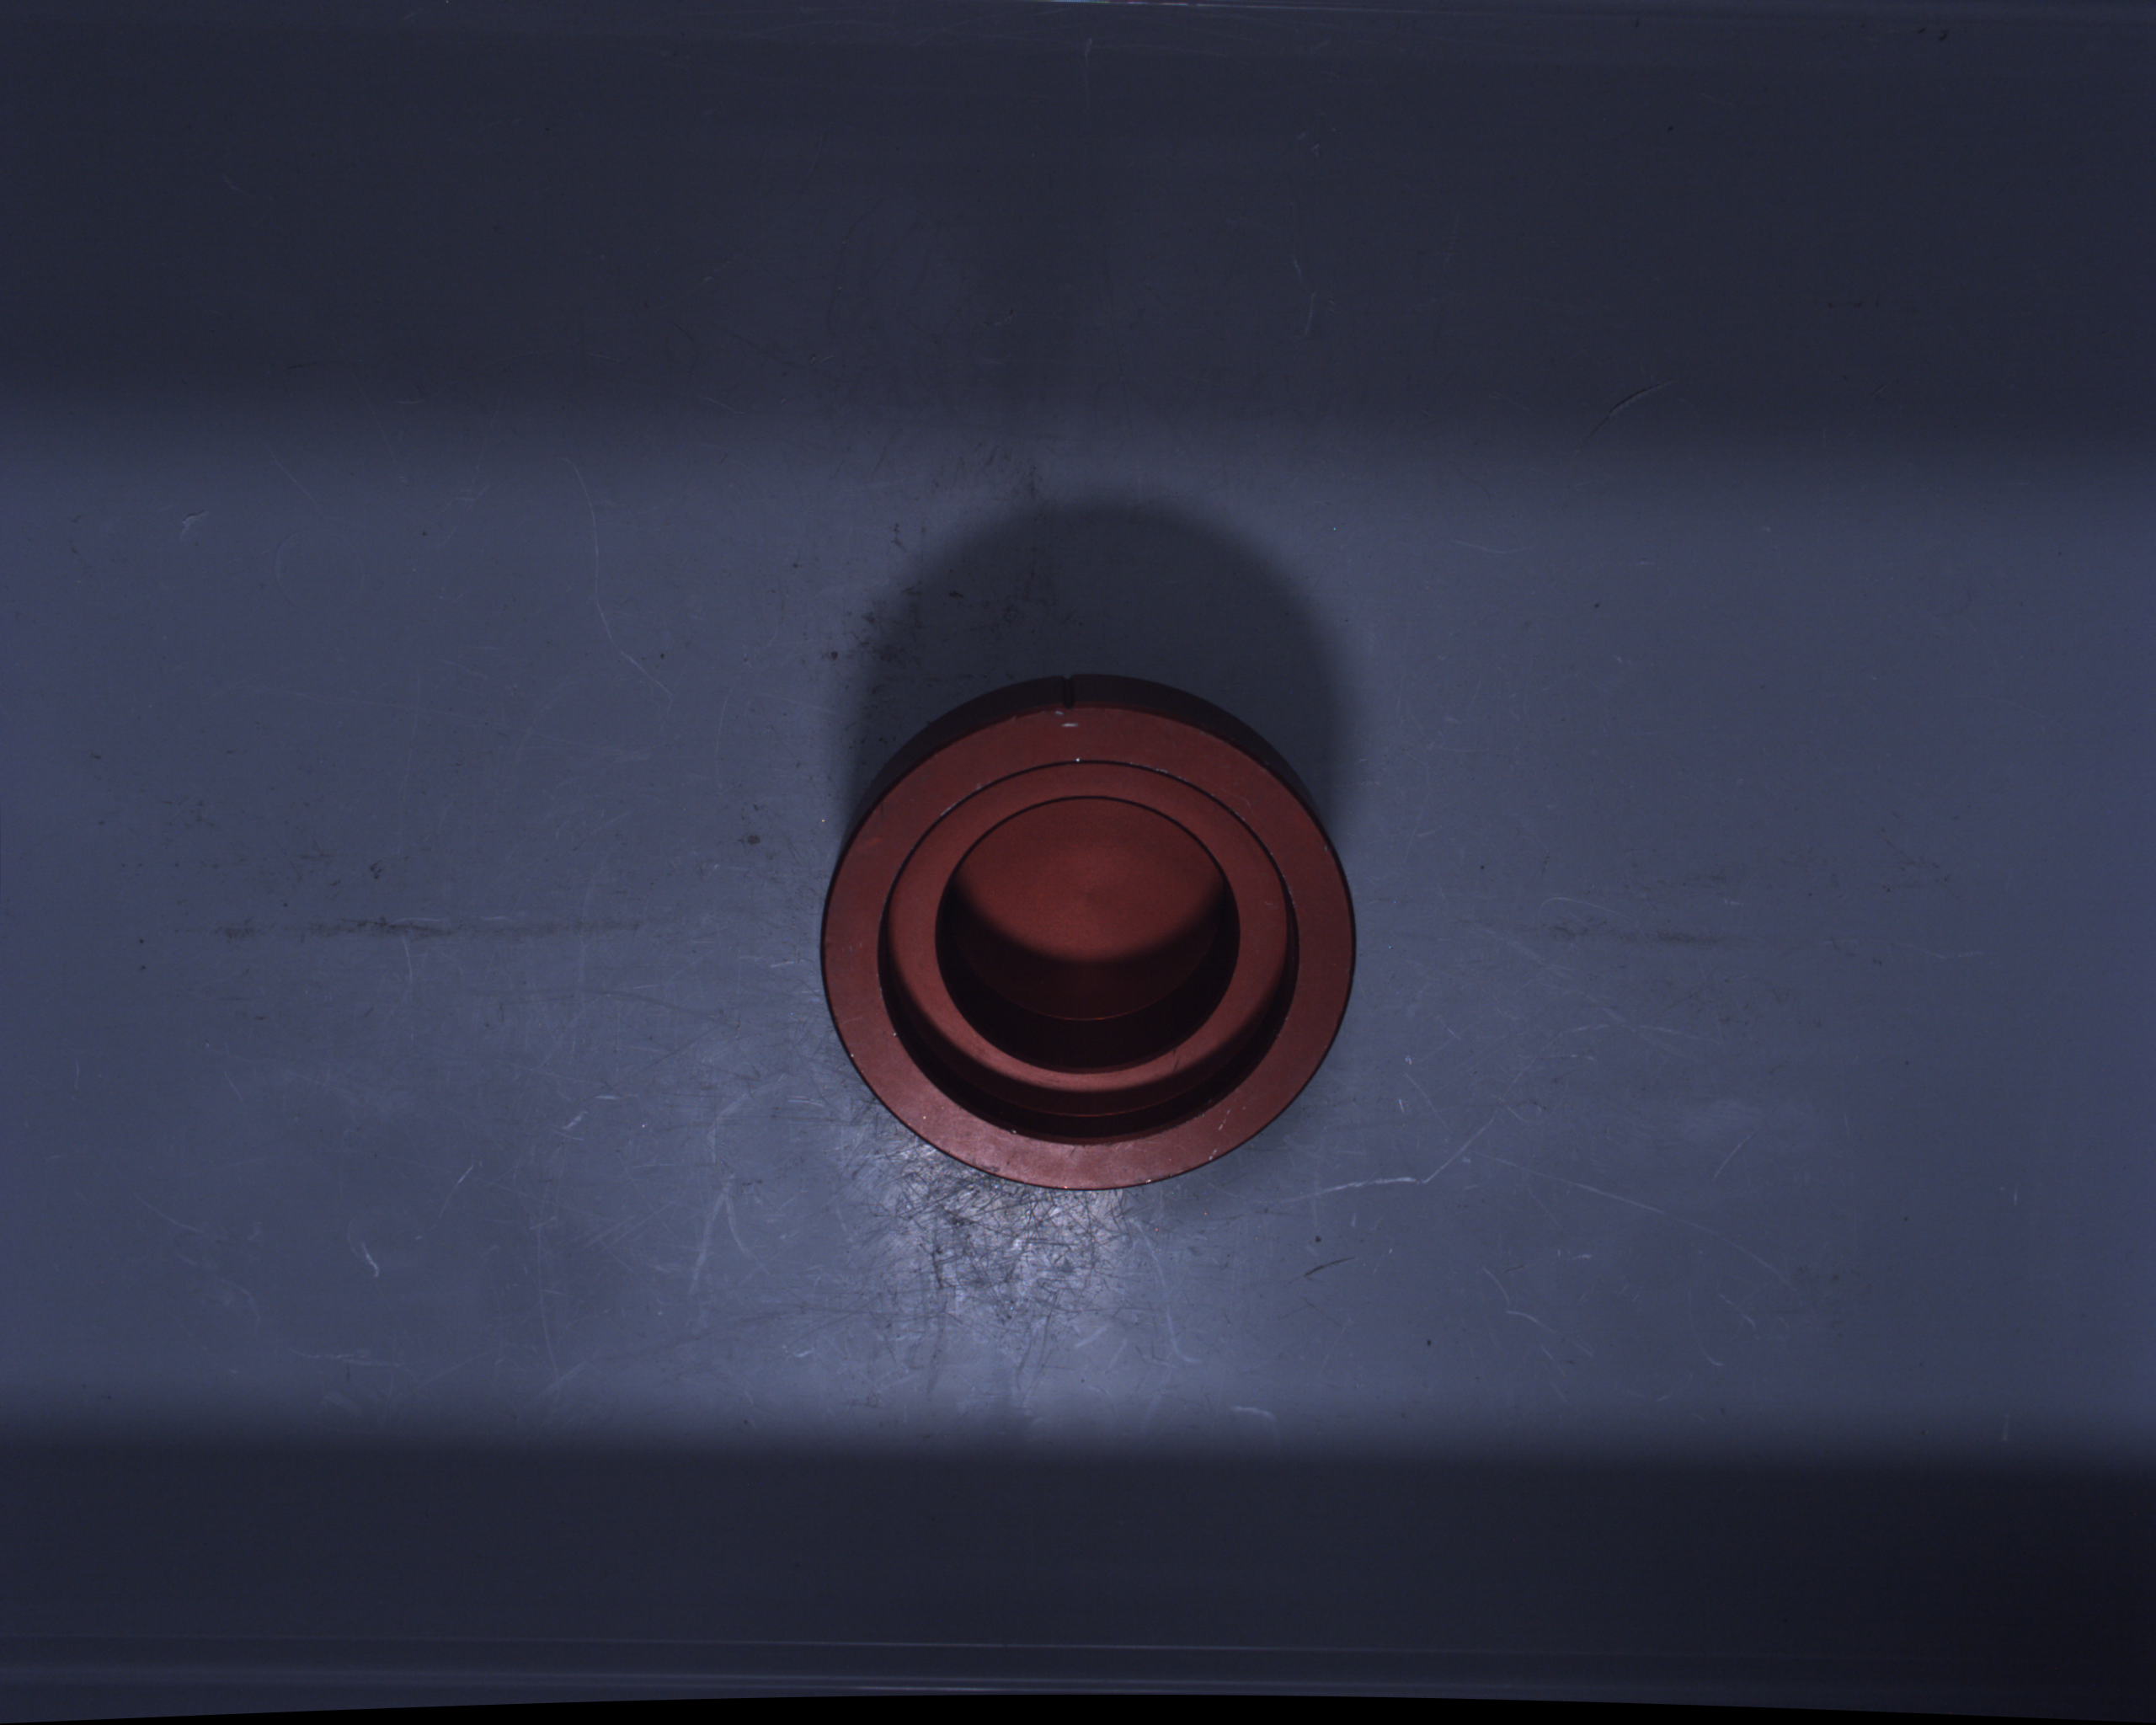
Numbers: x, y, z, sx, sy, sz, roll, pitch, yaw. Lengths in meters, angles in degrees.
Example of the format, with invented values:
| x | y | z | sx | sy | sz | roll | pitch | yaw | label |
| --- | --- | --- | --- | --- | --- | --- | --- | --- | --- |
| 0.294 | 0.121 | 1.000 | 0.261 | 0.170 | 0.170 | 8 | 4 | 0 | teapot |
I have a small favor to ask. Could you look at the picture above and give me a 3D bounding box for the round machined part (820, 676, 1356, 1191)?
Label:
| x | y | z | sx | sy | sz | roll | pitch | yaw | label |
| --- | --- | --- | --- | --- | --- | --- | --- | --- | --- |
| 0.002 | 0.011 | 0.402 | 0.099 | 0.042 | 0.097 | 0 | 110 | -1 | round machined part |
